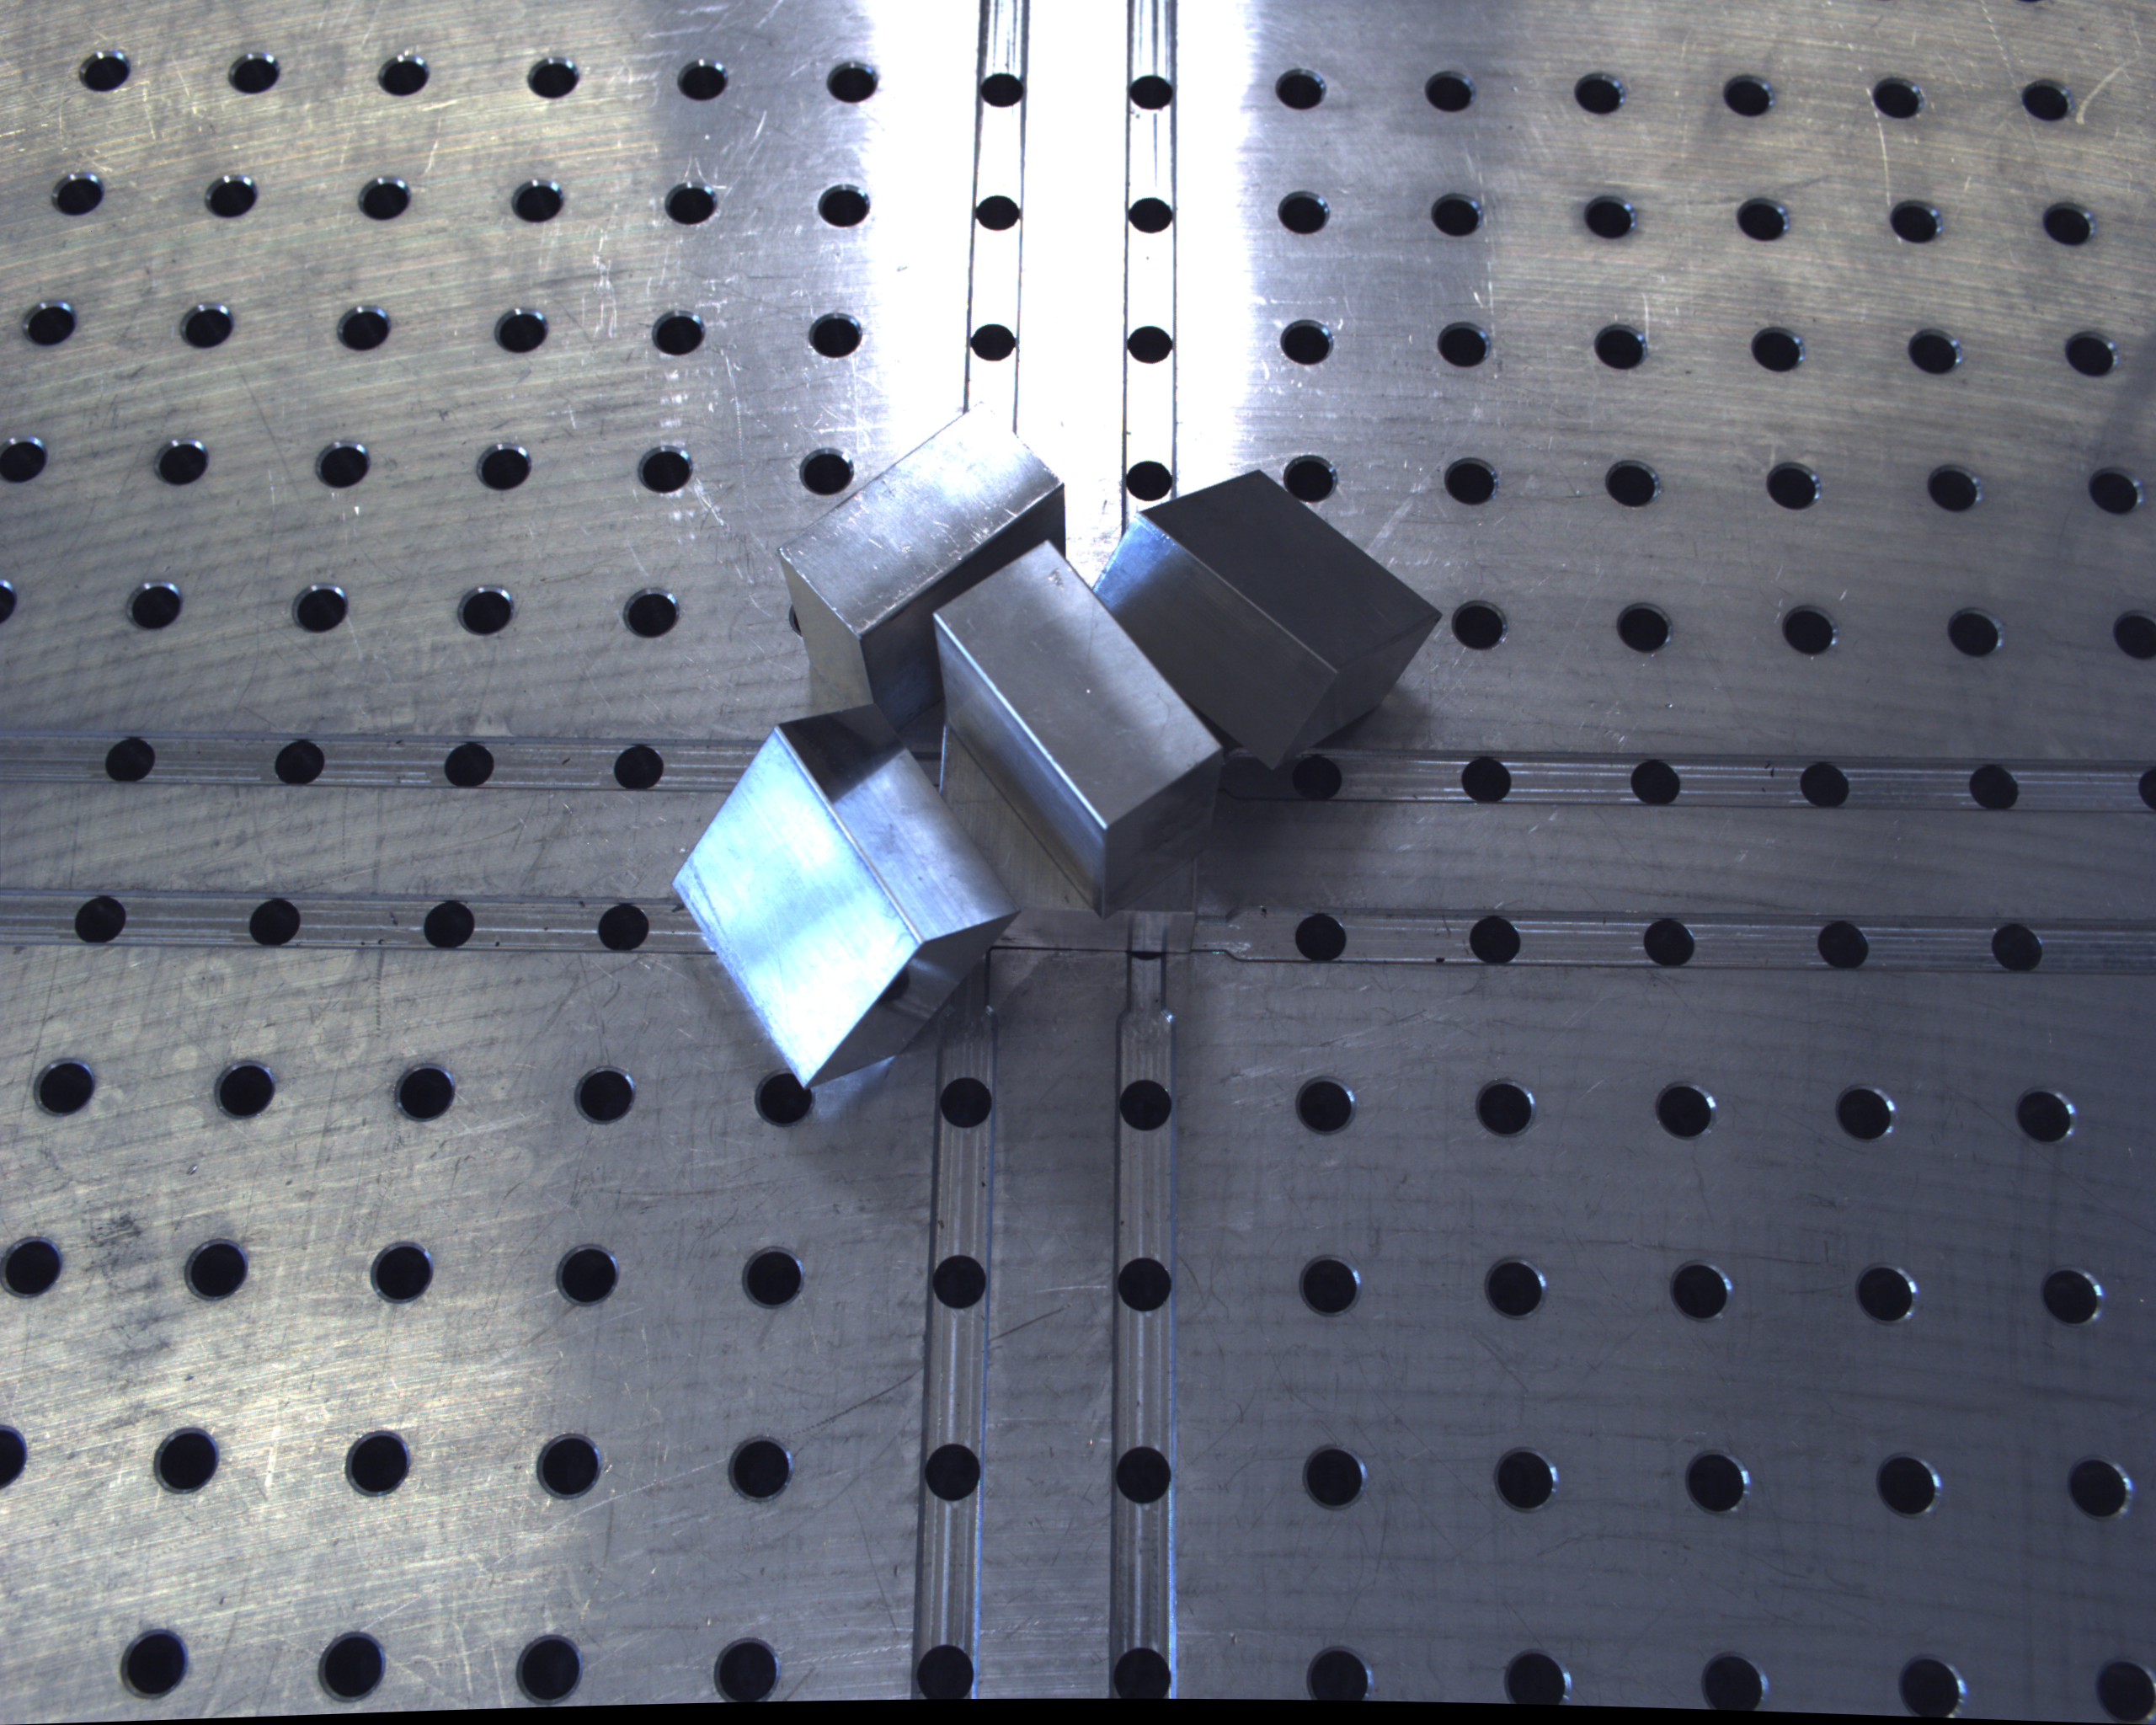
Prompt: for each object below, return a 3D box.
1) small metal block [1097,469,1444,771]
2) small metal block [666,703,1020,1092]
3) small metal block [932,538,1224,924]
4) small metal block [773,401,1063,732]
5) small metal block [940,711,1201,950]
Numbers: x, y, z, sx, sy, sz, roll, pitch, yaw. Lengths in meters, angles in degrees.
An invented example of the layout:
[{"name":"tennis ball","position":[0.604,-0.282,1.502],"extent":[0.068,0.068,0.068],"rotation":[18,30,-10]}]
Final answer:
[{"name":"small metal block","position":[0.037,-0.050,0.416],"extent":[0.050,0.025,0.050],"rotation":[41,35,13]},{"name":"small metal block","position":[-0.045,0.007,0.393],"extent":[0.025,0.050,0.050],"rotation":[-17,66,-46]},{"name":"small metal block","position":[-0.001,-0.023,0.380],"extent":[0.025,0.050,0.050],"rotation":[-34,74,-12]},{"name":"small metal block","position":[-0.030,-0.057,0.419],"extent":[0.050,0.050,0.025],"rotation":[-39,75,-13]},{"name":"small metal block","position":[-0.002,-0.010,0.415],"extent":[0.050,0.025,0.050],"rotation":[1,70,-1]}]
